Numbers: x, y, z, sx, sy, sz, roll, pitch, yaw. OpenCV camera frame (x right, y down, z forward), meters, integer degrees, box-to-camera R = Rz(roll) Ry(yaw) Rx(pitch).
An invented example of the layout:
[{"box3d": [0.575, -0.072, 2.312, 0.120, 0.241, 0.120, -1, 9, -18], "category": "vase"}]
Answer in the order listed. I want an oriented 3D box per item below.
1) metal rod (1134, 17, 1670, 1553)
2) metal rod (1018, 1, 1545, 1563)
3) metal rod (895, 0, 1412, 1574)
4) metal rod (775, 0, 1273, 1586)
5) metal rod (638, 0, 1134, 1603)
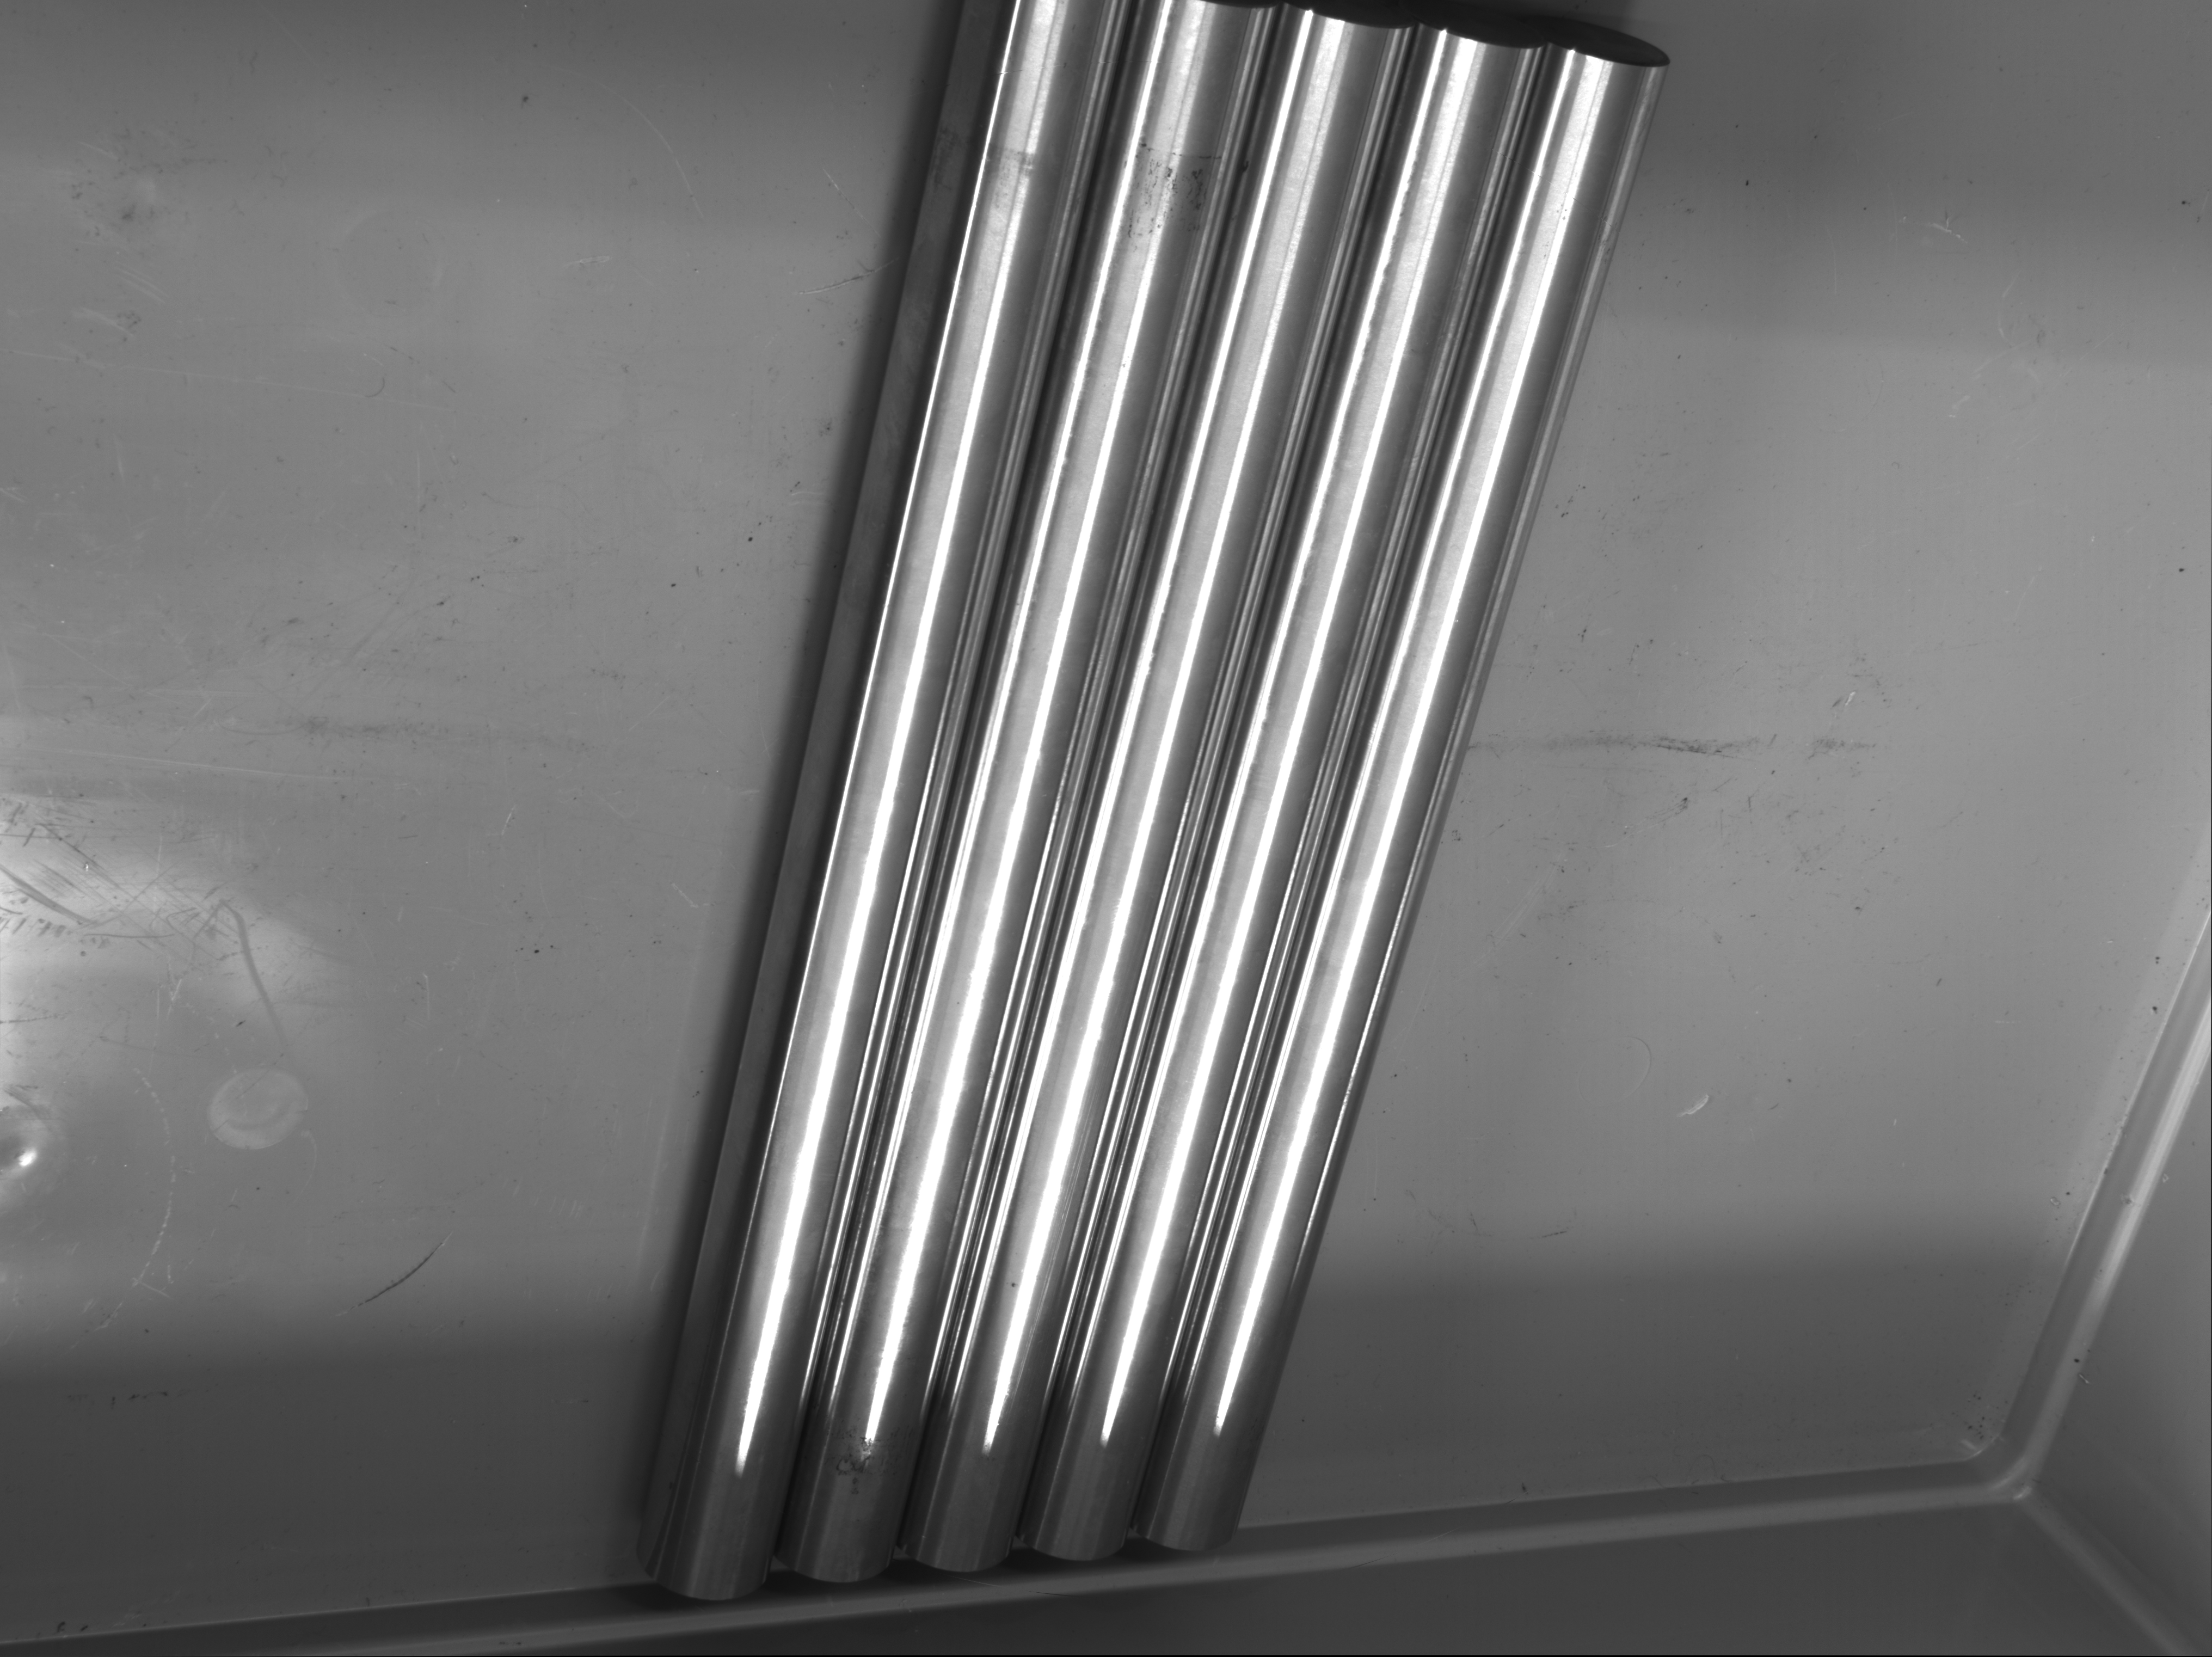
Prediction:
[{"box3d": [0.047, 0.003, 0.663, 0.025, 0.025, 0.300, 0, 118, -28], "category": "metal rod"}, {"box3d": [0.025, 0.003, 0.651, 0.025, 0.025, 0.300, 0, 118, -28], "category": "metal rod"}, {"box3d": [0.003, 0.002, 0.639, 0.025, 0.025, 0.300, 0, 118, -28], "category": "metal rod"}, {"box3d": [-0.020, 0.002, 0.627, 0.025, 0.025, 0.300, 0, 118, -28], "category": "metal rod"}, {"box3d": [-0.041, 0.003, 0.616, 0.025, 0.025, 0.300, 0, 118, -28], "category": "metal rod"}]
